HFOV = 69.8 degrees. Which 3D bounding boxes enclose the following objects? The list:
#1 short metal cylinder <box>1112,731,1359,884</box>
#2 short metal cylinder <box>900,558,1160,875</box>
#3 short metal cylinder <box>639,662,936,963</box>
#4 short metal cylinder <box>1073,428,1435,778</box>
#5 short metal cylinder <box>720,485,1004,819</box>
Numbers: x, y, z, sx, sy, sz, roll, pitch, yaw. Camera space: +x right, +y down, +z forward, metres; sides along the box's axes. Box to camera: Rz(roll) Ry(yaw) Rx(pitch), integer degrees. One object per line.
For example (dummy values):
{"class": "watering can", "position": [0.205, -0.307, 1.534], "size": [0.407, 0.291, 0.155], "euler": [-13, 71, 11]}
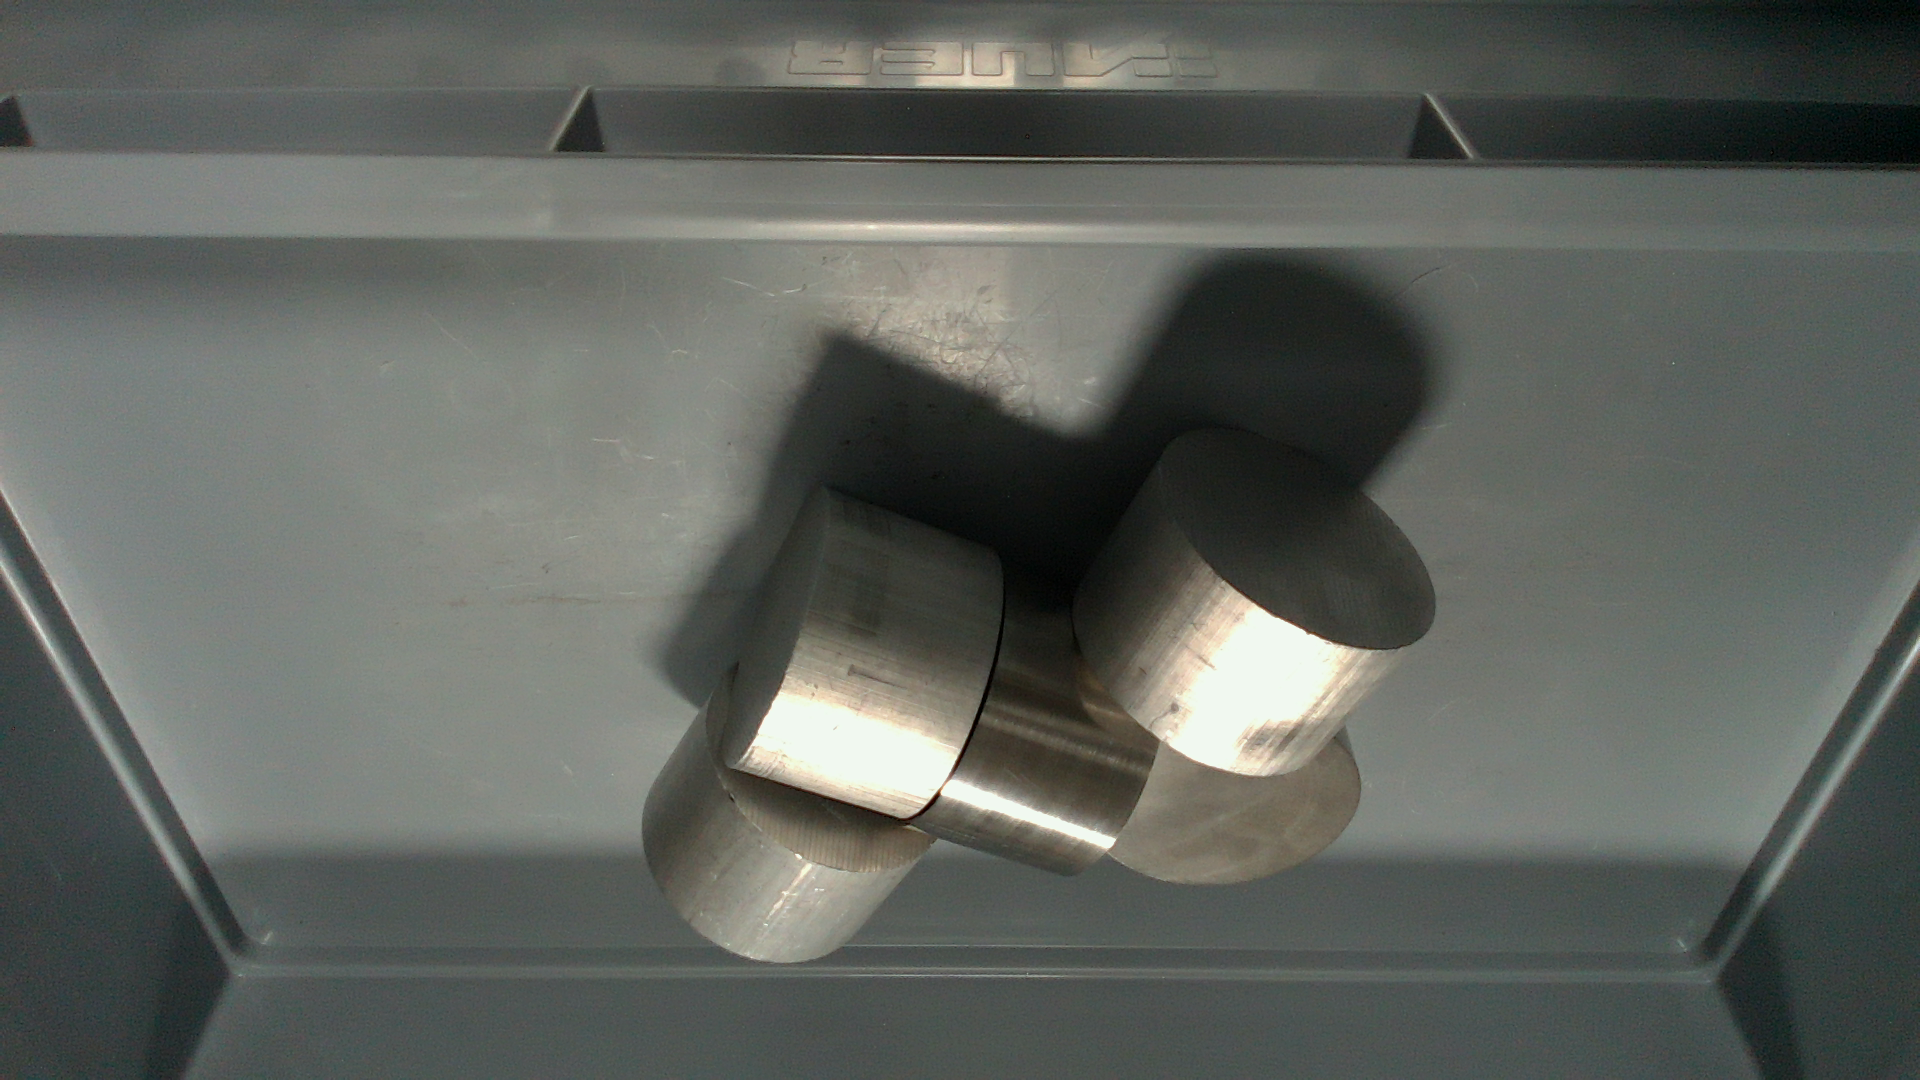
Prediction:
{"class": "short metal cylinder", "position": [0.077, 0.061, 0.424], "size": [0.080, 0.050, 0.080], "euler": [0, 130, 0]}
{"class": "short metal cylinder", "position": [0.017, 0.050, 0.396], "size": [0.050, 0.080, 0.080], "euler": [21, 127, -17]}
{"class": "short metal cylinder", "position": [-0.050, 0.080, 0.420], "size": [0.080, 0.080, 0.050], "euler": [23, 126, -18]}
{"class": "short metal cylinder", "position": [0.077, 0.016, 0.366], "size": [0.080, 0.080, 0.050], "euler": [18, 128, -15]}
{"class": "short metal cylinder", "position": [-0.028, 0.031, 0.379], "size": [0.050, 0.080, 0.080], "euler": [20, 127, -16]}
